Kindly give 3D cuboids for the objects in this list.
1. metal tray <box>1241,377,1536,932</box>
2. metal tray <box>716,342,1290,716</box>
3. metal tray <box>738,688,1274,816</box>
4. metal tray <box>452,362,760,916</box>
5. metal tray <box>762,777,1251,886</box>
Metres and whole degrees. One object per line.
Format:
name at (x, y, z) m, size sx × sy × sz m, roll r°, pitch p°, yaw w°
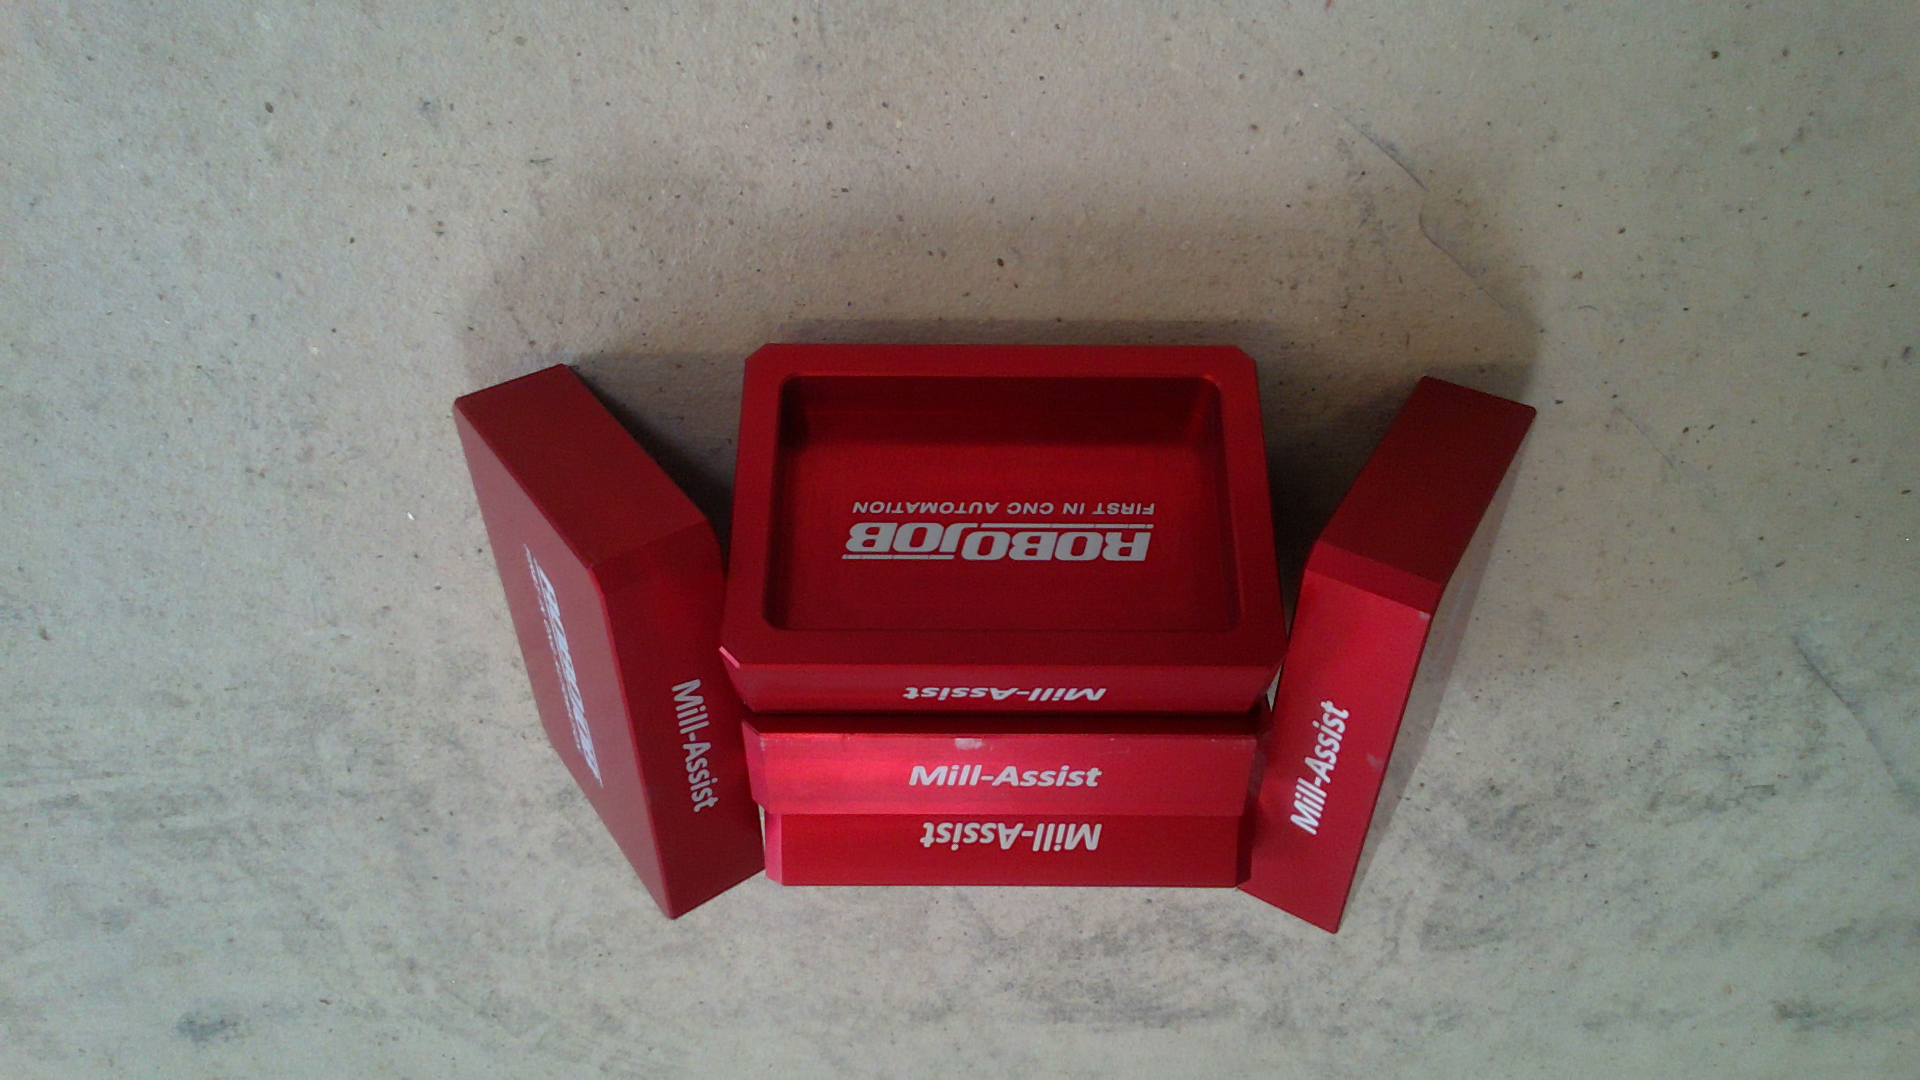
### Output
metal tray at (0.115, 0.033, 0.376) m, size 0.030 × 0.090 × 0.130 m, roll 22°, pitch 135°, yaw 23°
metal tray at (0.010, -0.004, 0.342) m, size 0.130 × 0.090 × 0.030 m, roll 0°, pitch 152°, yaw 0°
metal tray at (0.011, 0.030, 0.373) m, size 0.130 × 0.090 × 0.030 m, roll 0°, pitch 130°, yaw 0°
metal tray at (-0.093, 0.029, 0.374) m, size 0.030 × 0.090 × 0.130 m, roll -25°, pitch 137°, yaw -27°
metal tray at (0.012, 0.068, 0.405) m, size 0.130 × 0.090 × 0.030 m, roll 0°, pitch 101°, yaw 0°
